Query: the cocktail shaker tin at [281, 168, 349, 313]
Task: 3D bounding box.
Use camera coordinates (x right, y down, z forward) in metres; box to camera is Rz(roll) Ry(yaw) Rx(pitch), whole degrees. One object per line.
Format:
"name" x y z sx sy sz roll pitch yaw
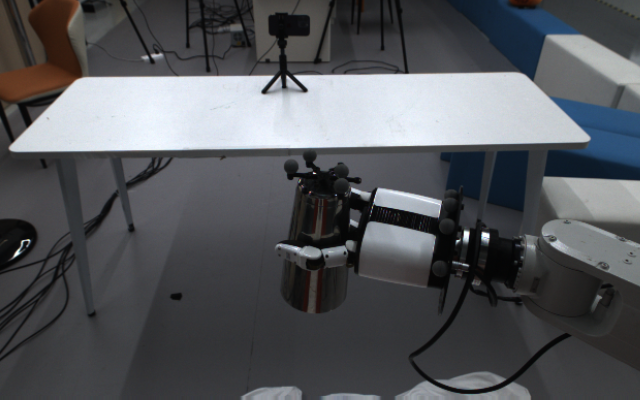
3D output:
"cocktail shaker tin" -0.001 0.051 0.624 0.093 0.170 0.093 4 32 -2
